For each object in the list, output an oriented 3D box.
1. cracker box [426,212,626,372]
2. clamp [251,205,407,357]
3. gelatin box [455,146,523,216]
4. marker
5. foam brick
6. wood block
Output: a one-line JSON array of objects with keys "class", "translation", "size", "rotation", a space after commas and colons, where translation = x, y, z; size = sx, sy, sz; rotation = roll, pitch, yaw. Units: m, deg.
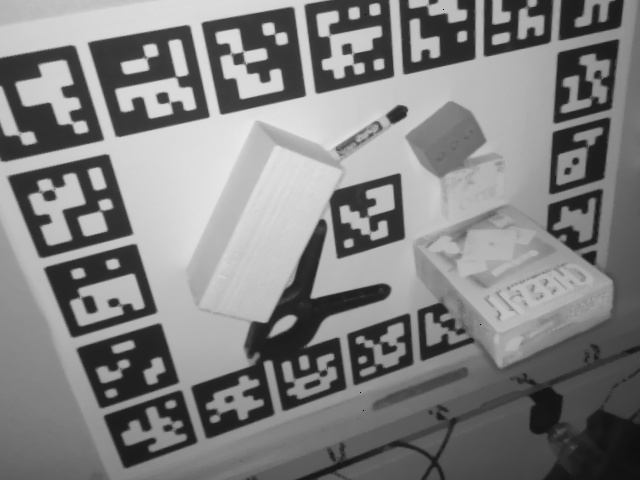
[{"class": "cracker box", "translation": [0.250, 0.054, 0.865], "size": [0.165, 0.213, 0.071], "rotation": [-16, 120, -11]}, {"class": "clamp", "translation": [-0.006, 0.073, 0.883], "size": [0.203, 0.036, 0.166], "rotation": [-41, 120, 0]}, {"class": "gelatin box", "translation": [0.223, -0.078, 0.909], "size": [0.090, 0.030, 0.073], "rotation": [-15, 116, -15]}, {"class": "marker", "translation": [0.088, -0.148, 0.826], "size": [0.121, 0.019, 0.019], "rotation": [-31, 119, -6]}, {"class": "foam brick", "translation": [0.181, -0.136, 0.851], "size": [0.078, 0.051, 0.053], "rotation": [-35, 119, -3]}, {"class": "wood block", "translation": [-0.050, -0.041, 0.787], "size": [0.091, 0.091, 0.204], "rotation": [21, 107, -30]}]
